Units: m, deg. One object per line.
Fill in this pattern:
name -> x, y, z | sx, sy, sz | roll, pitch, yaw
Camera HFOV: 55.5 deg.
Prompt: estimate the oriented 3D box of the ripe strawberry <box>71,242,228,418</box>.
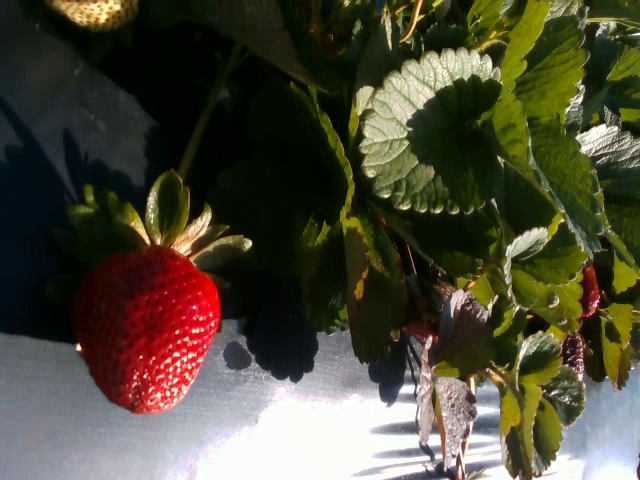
ripe strawberry -> -0.046, 0.027, 0.153 | 0.043, 0.043, 0.050 | -19, 33, 9
